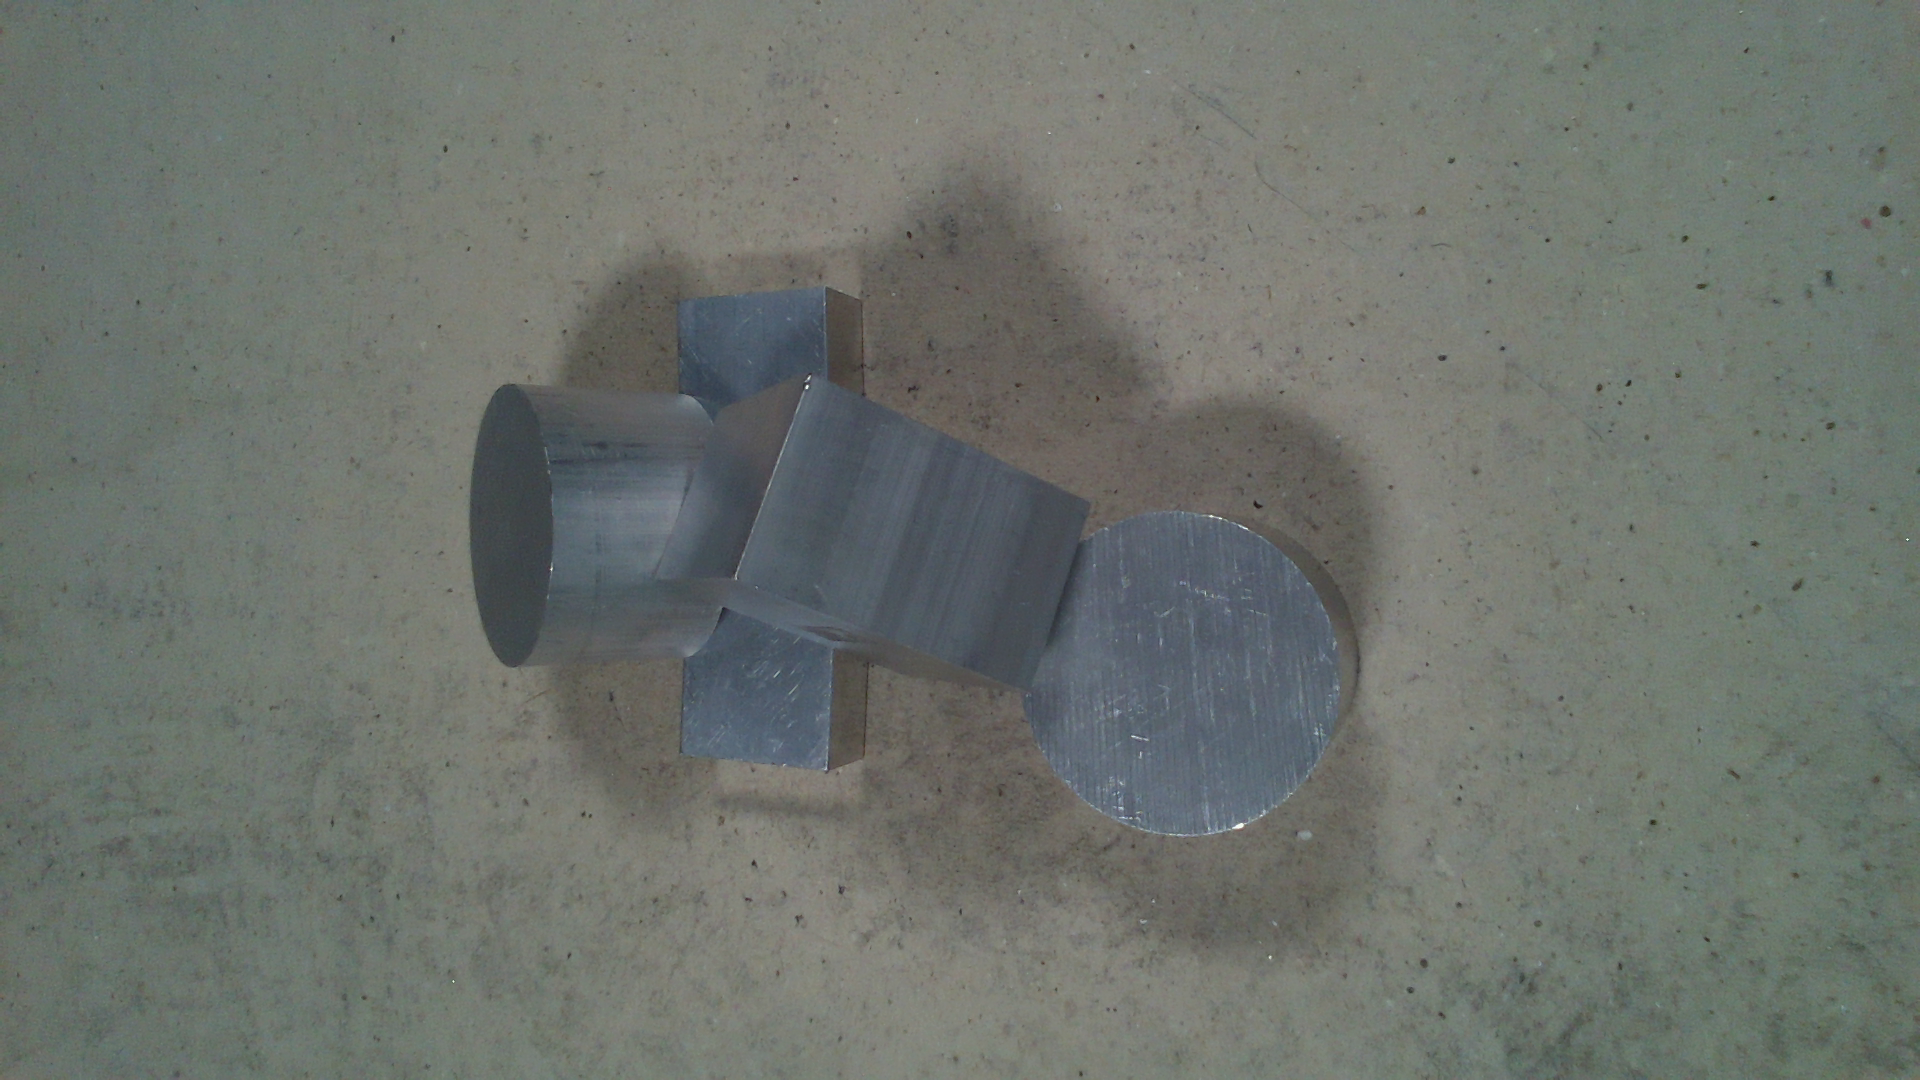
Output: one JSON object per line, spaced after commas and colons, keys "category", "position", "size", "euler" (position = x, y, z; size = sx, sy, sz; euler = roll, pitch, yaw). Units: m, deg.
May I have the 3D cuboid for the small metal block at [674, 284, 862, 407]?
{"category": "small metal block", "position": [-0.057, -0.048, 0.416], "size": [0.050, 0.025, 0.050], "euler": [-1, 90, 20]}

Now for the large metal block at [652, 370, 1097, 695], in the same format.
{"category": "large metal block", "position": [-0.025, 0.001, 0.356], "size": [0.080, 0.080, 0.050], "euler": [23, 79, -23]}

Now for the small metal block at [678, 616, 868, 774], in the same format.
{"category": "small metal block", "position": [-0.056, 0.041, 0.416], "size": [0.050, 0.025, 0.050], "euler": [3, 91, 20]}

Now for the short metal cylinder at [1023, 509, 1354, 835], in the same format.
{"category": "short metal cylinder", "position": [0.061, 0.032, 0.361], "size": [0.080, 0.050, 0.080], "euler": [0, 90, 20]}

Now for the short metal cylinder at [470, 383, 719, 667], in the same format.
{"category": "short metal cylinder", "position": [-0.107, -0.005, 0.402], "size": [0.080, 0.050, 0.080], "euler": [2, 93, 56]}
